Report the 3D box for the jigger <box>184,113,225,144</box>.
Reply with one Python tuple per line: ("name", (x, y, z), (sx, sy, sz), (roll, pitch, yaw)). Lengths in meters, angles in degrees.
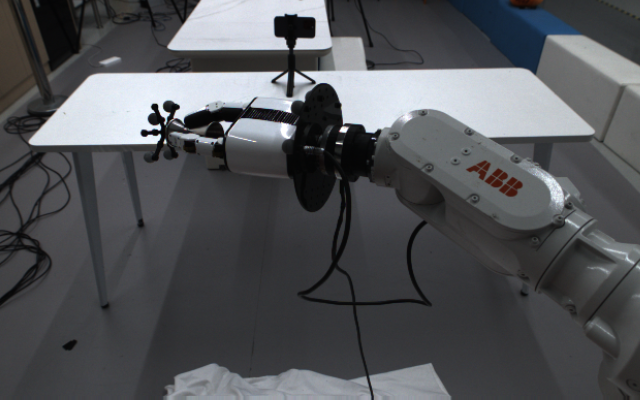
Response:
("jigger", (-0.167, -0.091, 0.663), (0.071, 0.043, 0.043), (9, 35, 22))
